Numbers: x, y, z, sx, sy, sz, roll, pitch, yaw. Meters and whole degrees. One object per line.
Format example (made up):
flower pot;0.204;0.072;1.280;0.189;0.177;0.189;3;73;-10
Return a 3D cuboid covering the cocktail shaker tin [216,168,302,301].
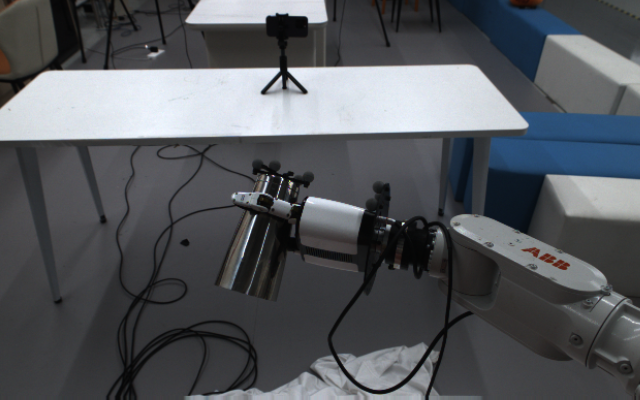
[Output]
cocktail shaker tin;-0.082;0.050;0.703;0.093;0.093;0.170;13;77;15
